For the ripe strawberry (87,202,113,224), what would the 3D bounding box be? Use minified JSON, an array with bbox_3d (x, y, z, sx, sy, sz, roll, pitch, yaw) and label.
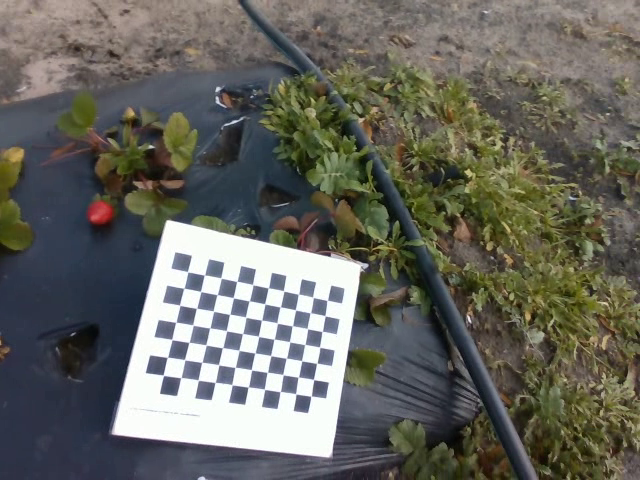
[{"bbox_3d":[-0.312,-0.035,0.795,0.041,0.044,0.052,-41,20,22],"label":"ripe strawberry"}]
